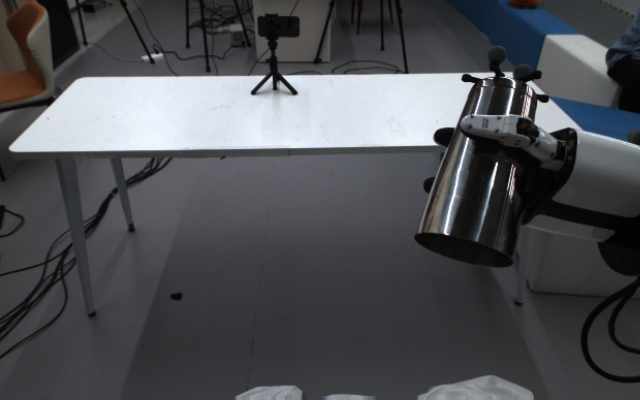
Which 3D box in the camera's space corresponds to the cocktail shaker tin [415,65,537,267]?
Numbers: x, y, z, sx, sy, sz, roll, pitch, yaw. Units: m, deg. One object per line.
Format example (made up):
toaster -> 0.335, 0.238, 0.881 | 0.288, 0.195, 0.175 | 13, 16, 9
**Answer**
cocktail shaker tin -> 0.162, -0.030, 0.474 | 0.093, 0.093, 0.170 | 15, 75, 18
